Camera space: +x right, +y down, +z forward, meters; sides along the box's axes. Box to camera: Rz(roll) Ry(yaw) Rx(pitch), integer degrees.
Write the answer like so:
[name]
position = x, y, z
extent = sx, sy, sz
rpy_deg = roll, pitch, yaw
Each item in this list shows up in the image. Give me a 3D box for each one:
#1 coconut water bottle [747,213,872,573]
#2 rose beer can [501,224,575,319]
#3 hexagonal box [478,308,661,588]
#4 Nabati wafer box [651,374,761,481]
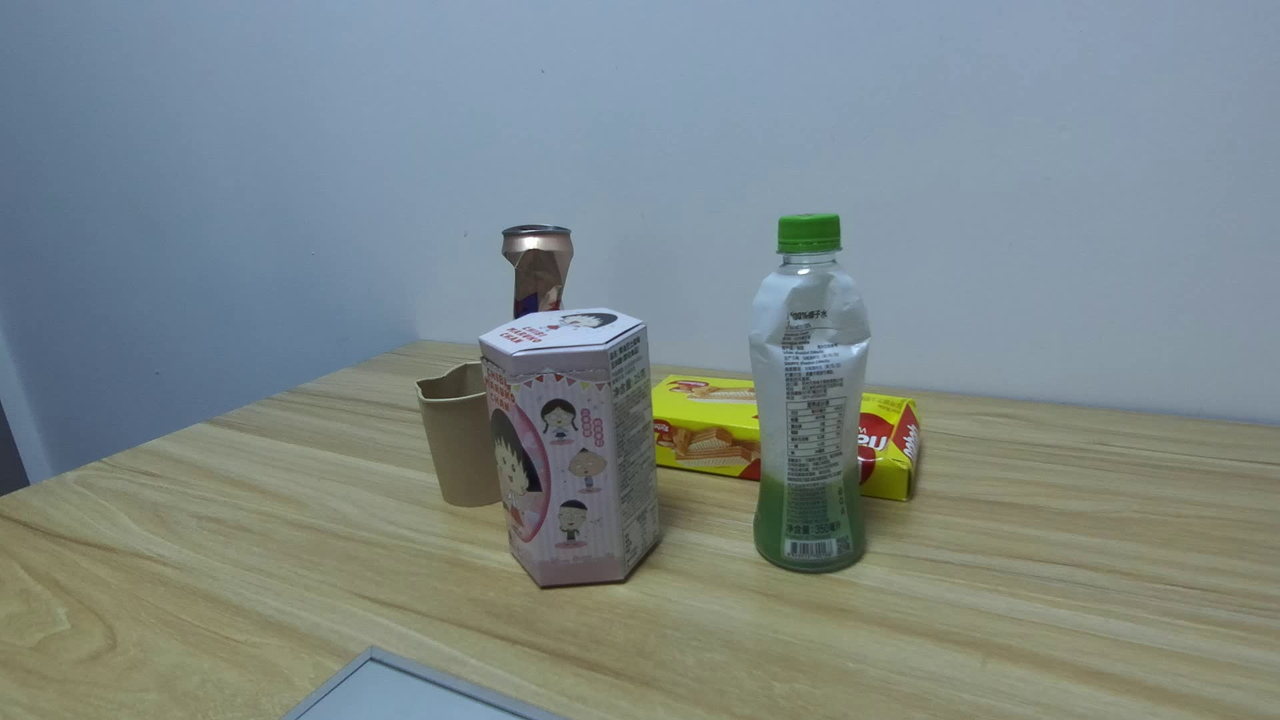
[coconut water bottle]
position = 0.091, 0.017, 0.379
extent = 0.067, 0.187, 0.067
rpy_deg = -3, 16, 1
[rose beer can]
position = -0.079, -0.026, 0.591
extent = 0.065, 0.167, 0.076
rpy_deg = 1, 16, 3
[hexagonal box]
position = -0.037, 0.047, 0.397
extent = 0.084, 0.136, 0.091
rpy_deg = -13, 20, -30
[Nabati wafer box]
position = 0.098, 0.051, 0.520
extent = 0.202, 0.042, 0.097
rpy_deg = 5, 18, 24
